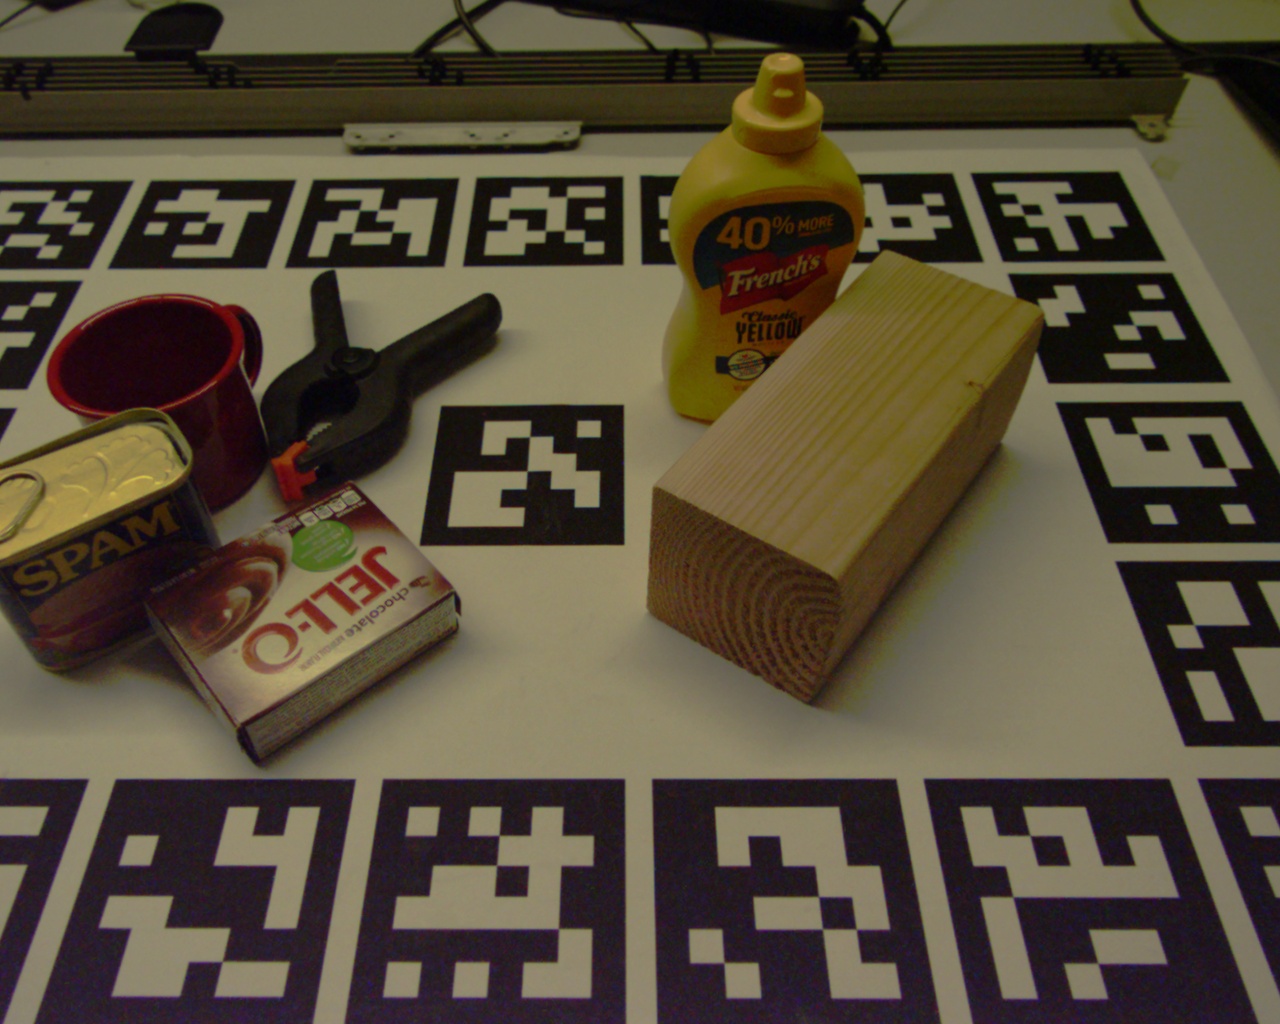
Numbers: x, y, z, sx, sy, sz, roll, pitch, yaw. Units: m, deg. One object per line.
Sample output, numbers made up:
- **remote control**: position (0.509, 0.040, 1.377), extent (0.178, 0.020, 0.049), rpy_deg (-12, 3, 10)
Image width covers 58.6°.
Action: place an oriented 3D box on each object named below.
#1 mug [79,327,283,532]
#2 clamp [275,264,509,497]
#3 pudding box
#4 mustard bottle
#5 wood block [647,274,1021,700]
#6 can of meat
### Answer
- **mug**: position (-0.241, -0.049, 0.632), extent (0.094, 0.081, 0.117), rpy_deg (17, 53, 14)
- **clamp**: position (-0.159, -0.078, 0.661), extent (0.122, 0.036, 0.165), rpy_deg (15, 53, 11)
- **pudding box**: position (-0.151, 0.048, 0.547), extent (0.113, 0.038, 0.091), rpy_deg (-33, 57, -26)
- **mustard bottle**: position (0.055, -0.135, 0.599), extent (0.096, 0.191, 0.059), rpy_deg (-5, 50, -3)
- **wood block**: position (0.098, -0.021, 0.573), extent (0.091, 0.090, 0.205), rpy_deg (28, 53, 24)
- **can of meat**: position (-0.249, 0.014, 0.540), extent (0.101, 0.083, 0.058), rpy_deg (-25, 55, -20)
